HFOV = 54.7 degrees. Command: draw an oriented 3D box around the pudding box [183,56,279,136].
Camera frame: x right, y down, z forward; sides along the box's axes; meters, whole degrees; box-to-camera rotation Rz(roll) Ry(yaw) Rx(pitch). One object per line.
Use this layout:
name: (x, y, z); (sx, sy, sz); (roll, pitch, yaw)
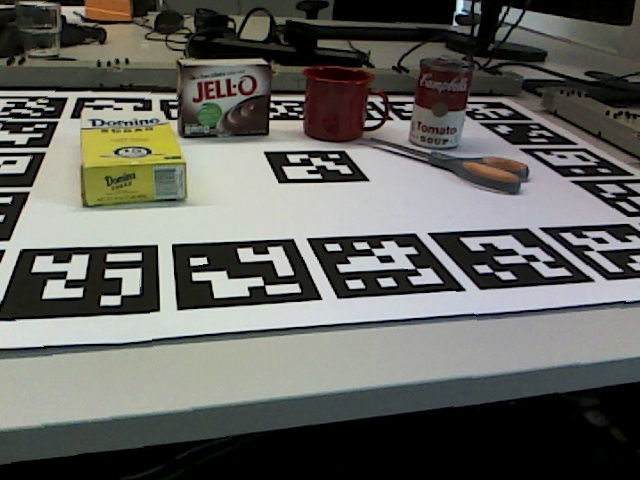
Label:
pudding box: (-0.112, -0.180, 0.766); (0.113, 0.090, 0.039); (-8, 40, -22)

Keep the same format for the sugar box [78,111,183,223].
sugar box: (-0.200, -0.083, 0.647); (0.092, 0.045, 0.177); (-6, 34, -16)

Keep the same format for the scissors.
scissors: (0.150, -0.089, 0.733); (0.204, 0.016, 0.087); (24, 45, 26)

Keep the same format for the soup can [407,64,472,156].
soup can: (0.153, -0.168, 0.800); (0.068, 0.102, 0.068); (3, 30, -2)

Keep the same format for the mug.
mug: (0.031, -0.181, 0.807); (0.118, 0.081, 0.093); (26, 39, 32)
